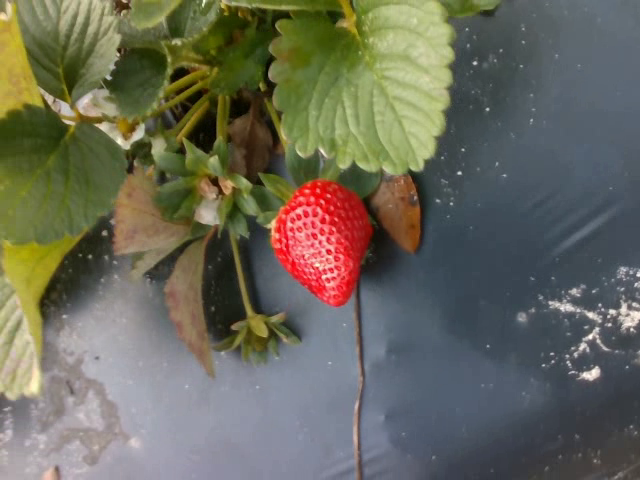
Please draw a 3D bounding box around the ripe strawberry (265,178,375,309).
[{"bbox_3d":[0.002,0.006,0.240,0.050,0.053,0.049,-32,-45,16],"label":"ripe strawberry"}]
